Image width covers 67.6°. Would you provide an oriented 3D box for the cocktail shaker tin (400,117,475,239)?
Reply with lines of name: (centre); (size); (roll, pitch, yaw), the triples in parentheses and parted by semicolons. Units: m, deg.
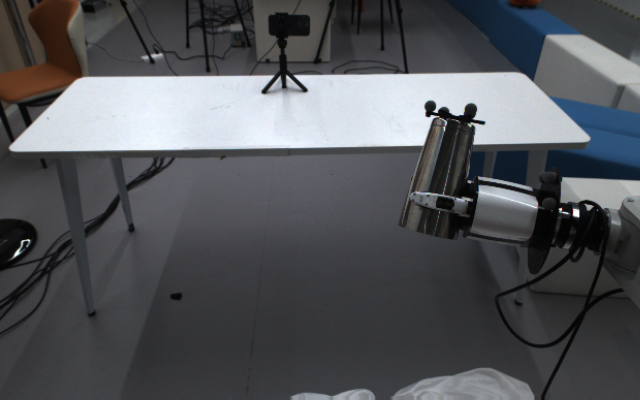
cocktail shaker tin: (0.184, -0.033, 0.740); (0.093, 0.170, 0.093); (13, 4, -1)
